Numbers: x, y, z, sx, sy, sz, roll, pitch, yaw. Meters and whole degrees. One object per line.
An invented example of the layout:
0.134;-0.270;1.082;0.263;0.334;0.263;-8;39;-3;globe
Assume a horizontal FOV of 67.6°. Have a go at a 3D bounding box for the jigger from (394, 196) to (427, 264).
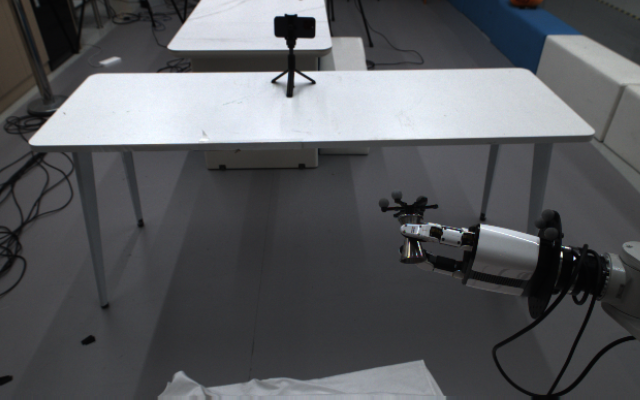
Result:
0.141;0.057;0.743;0.043;0.043;0.071;1;70;-2;jigger
